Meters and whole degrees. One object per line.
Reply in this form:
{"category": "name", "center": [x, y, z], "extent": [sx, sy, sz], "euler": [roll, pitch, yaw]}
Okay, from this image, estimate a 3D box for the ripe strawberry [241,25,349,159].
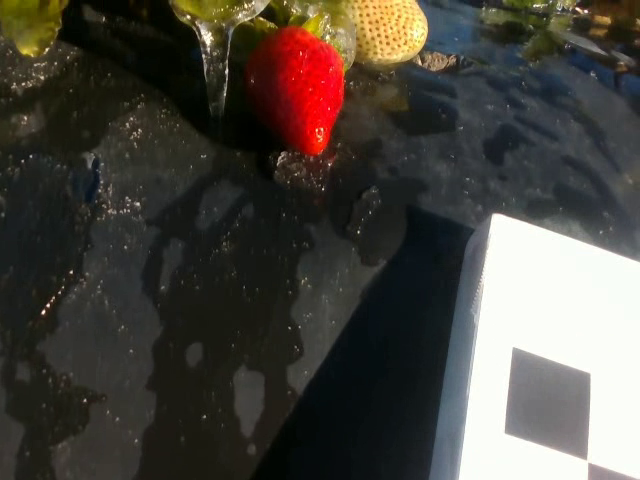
{"category": "ripe strawberry", "center": [-0.003, -0.052, 0.174], "extent": [0.041, 0.052, 0.040], "euler": [3, -32, -13]}
